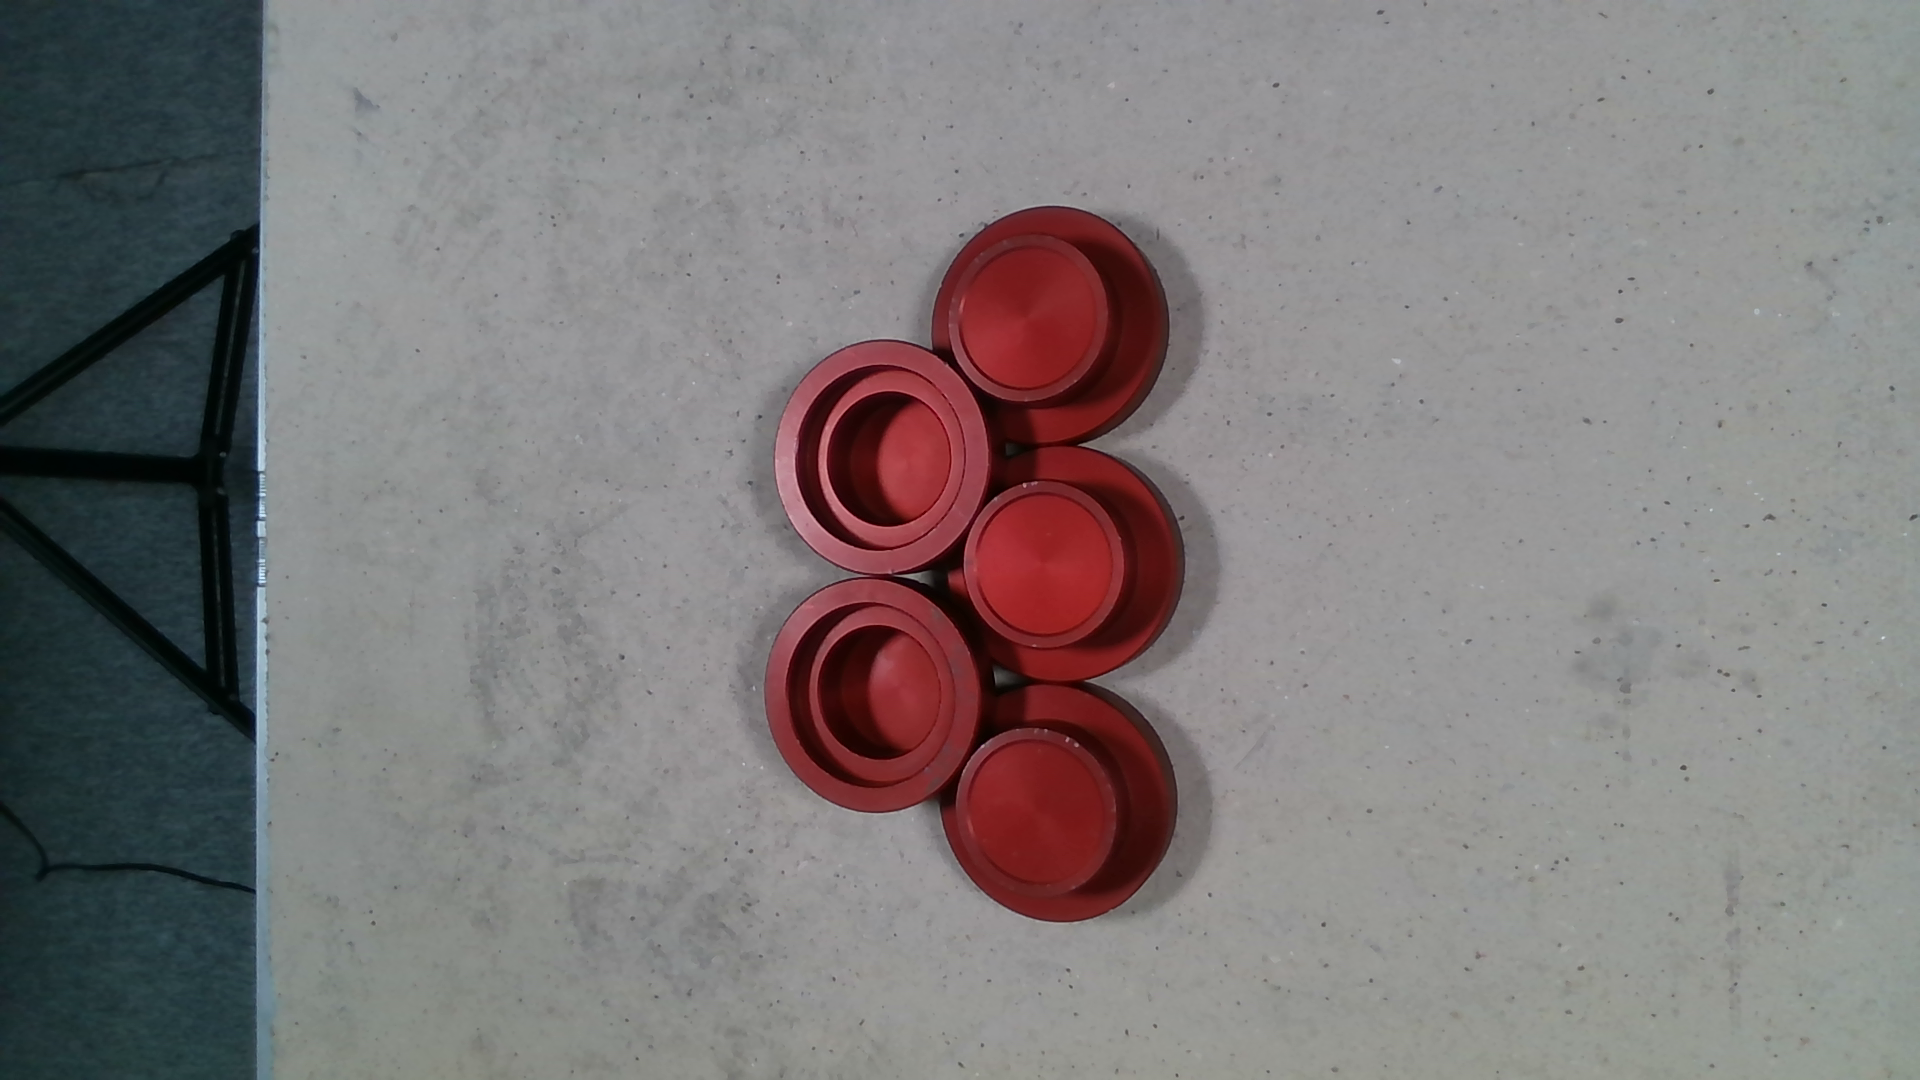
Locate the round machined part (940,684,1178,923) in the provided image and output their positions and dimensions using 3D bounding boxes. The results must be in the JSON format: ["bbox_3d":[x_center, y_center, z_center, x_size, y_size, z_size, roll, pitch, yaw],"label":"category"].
[{"bbox_3d":[0.037,0.108,0.564,0.098,0.042,0.098,0,91,20],"label":"round machined part"}]

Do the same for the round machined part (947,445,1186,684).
[{"bbox_3d":[0.040,0.010,0.562,0.098,0.042,0.098,0,91,20],"label":"round machined part"}]

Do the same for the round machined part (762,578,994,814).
[{"bbox_3d":[-0.032,0.064,0.589,0.098,0.042,0.098,0,91,20],"label":"round machined part"}]

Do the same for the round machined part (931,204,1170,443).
[{"bbox_3d":[0.033,-0.089,0.564,0.098,0.042,0.098,0,91,20],"label":"round machined part"}]

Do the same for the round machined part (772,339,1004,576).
[{"bbox_3d":[-0.027,-0.034,0.586,0.098,0.042,0.098,0,91,20],"label":"round machined part"}]
